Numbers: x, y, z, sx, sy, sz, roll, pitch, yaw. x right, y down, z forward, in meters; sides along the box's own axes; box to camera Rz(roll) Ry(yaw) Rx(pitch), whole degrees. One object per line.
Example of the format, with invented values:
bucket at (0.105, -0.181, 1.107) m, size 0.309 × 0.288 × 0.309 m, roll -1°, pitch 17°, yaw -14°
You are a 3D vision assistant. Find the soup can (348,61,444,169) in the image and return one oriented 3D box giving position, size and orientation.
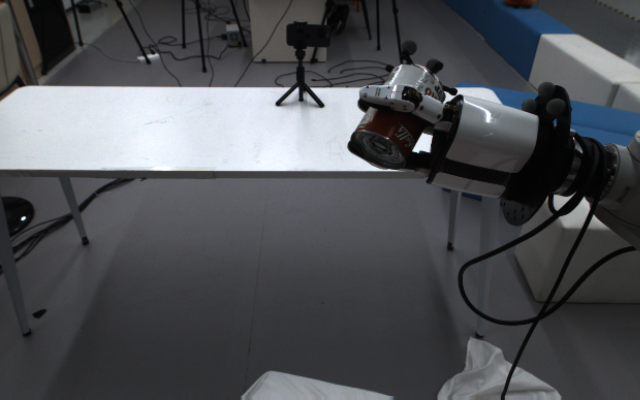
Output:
soup can at (0.090, -0.095, 0.545) m, size 0.067 × 0.067 × 0.101 m, roll 22°, pitch 71°, yaw 26°
